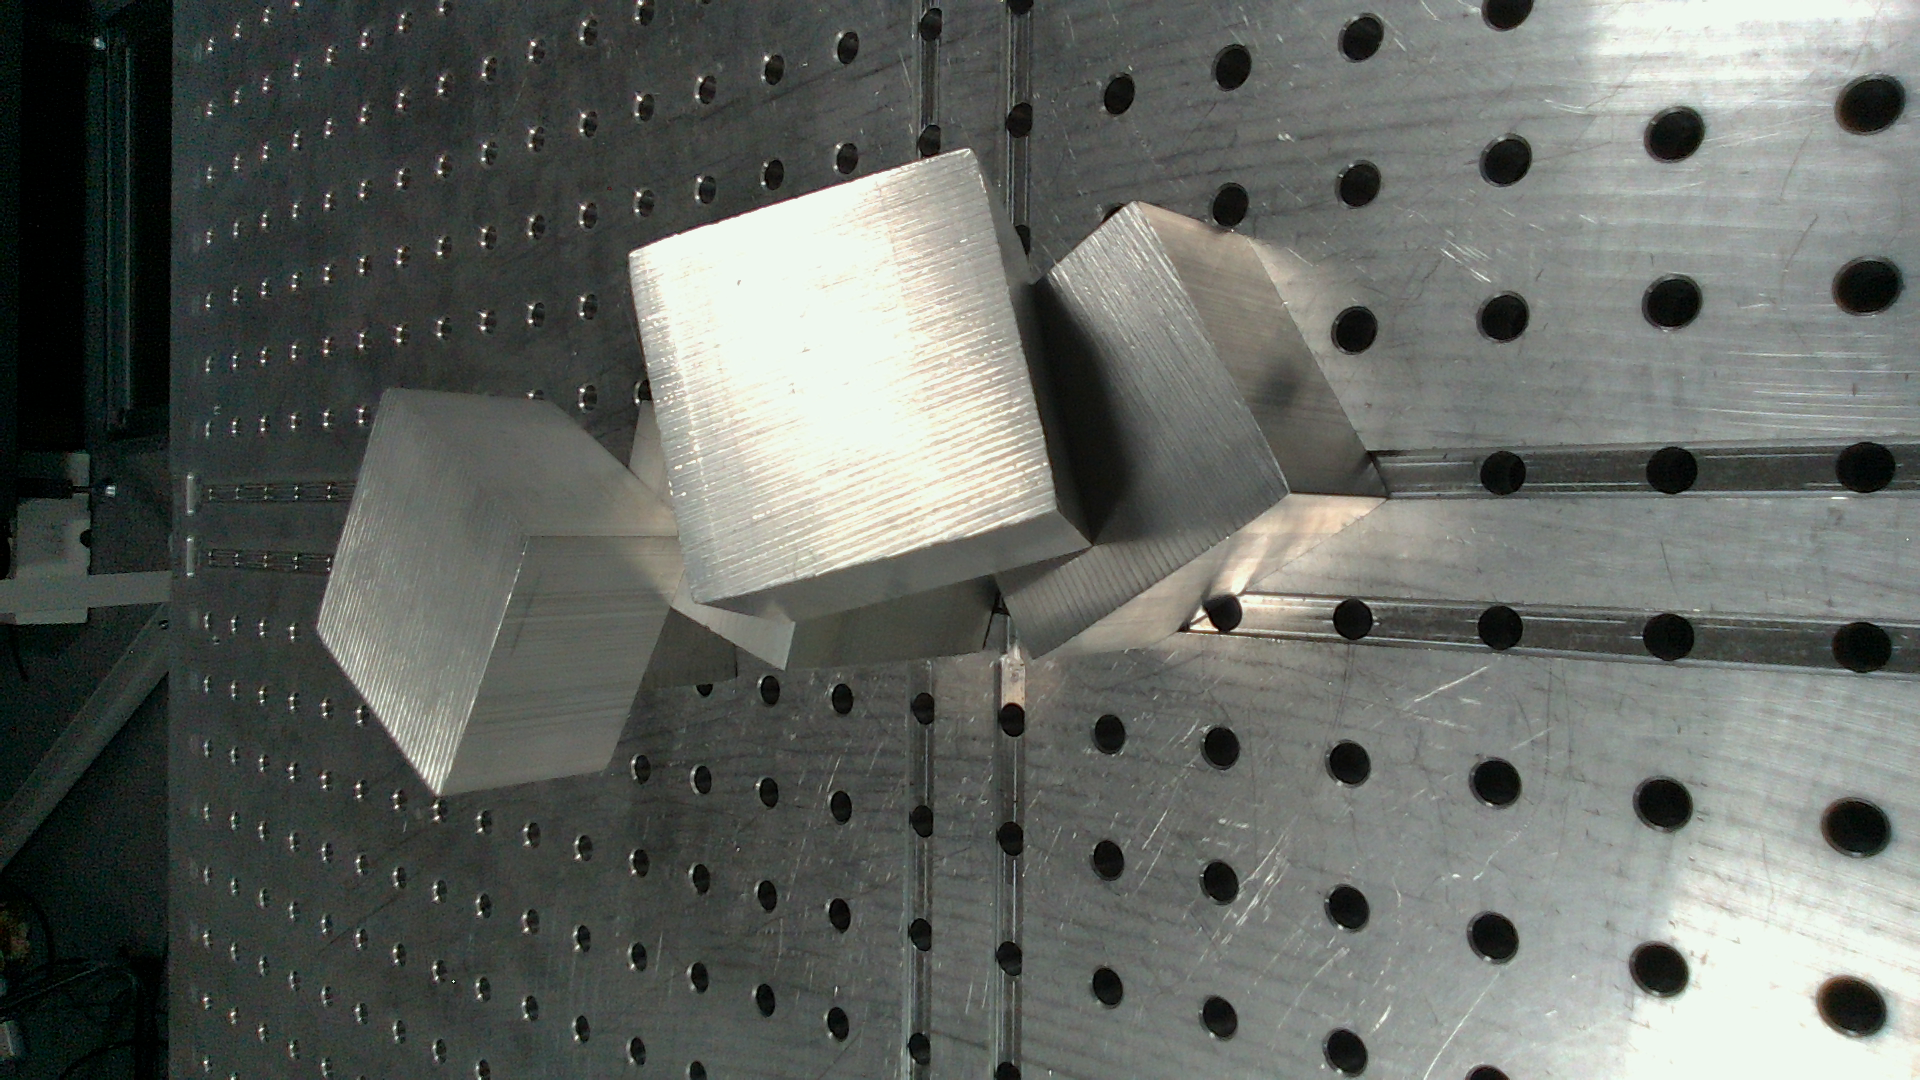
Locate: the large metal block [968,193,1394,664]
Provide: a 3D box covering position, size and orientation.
[{"bbox_3d":[0.045,-0.025,0.343,0.080,0.050,0.080,-37,67,34],"label":"large metal block"}]

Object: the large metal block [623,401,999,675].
[{"bbox_3d":[-0.042,-0.002,0.396,0.080,0.080,0.050,24,105,38],"label":"large metal block"}]

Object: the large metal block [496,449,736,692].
[{"bbox_3d":[-0.127,0.013,0.468,0.050,0.080,0.080,-8,85,40],"label":"large metal block"}]

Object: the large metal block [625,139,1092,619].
[{"bbox_3d":[-0.021,-0.031,0.309,0.080,0.050,0.080,-15,80,10],"label":"large metal block"}]

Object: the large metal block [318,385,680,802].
[{"bbox_3d":[-0.129,0.013,0.384,0.080,0.050,0.080,38,114,34],"label":"large metal block"}]
